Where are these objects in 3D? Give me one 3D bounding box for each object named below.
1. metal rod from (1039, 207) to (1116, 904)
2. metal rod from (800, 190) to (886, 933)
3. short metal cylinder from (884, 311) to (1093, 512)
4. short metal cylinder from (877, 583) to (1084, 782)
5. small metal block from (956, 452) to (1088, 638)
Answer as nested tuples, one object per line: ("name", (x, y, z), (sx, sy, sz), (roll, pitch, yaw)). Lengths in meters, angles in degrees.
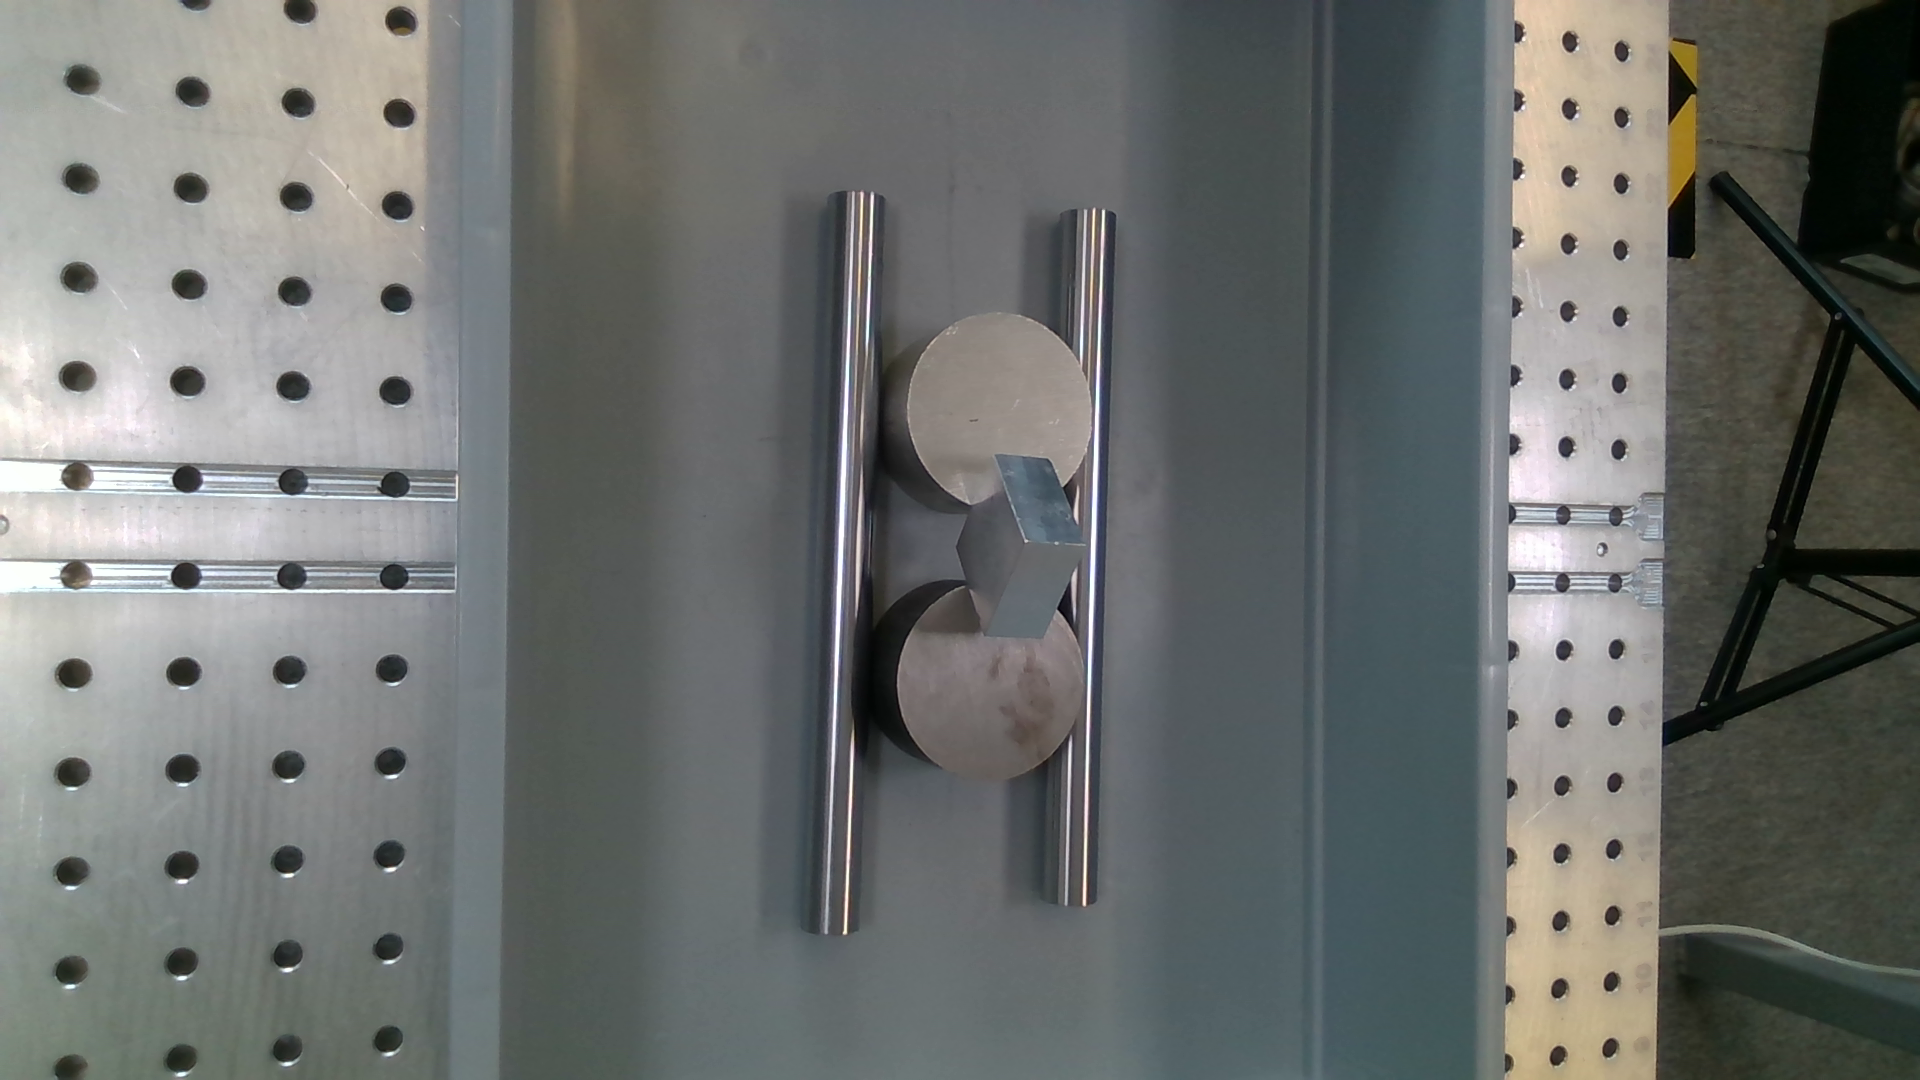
("metal rod", (0.052, 0.007, 0.604), (0.025, 0.025, 0.300), (2, 90, -20))
("metal rod", (-0.048, 0.009, 0.568), (0.025, 0.025, 0.300), (2, 90, -20))
("short metal cylinder", (0.008, -0.052, 0.575), (0.080, 0.050, 0.080), (0, 90, -20))
("short metal cylinder", (0.005, 0.057, 0.574), (0.080, 0.050, 0.080), (0, 90, -20))
("small metal block", (0.022, 0.002, 0.531), (0.025, 0.050, 0.050), (3, 132, -21))
